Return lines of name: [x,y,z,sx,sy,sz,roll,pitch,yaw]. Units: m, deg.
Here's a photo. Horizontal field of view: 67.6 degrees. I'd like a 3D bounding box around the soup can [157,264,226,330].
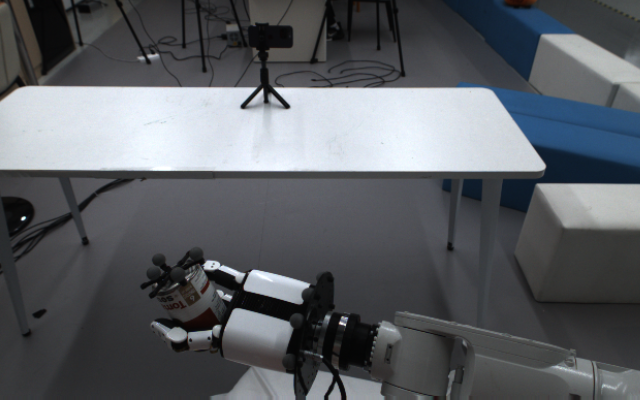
soup can: [-0.162,0.140,0.635,0.067,0.101,0.067,-22,24,10]
